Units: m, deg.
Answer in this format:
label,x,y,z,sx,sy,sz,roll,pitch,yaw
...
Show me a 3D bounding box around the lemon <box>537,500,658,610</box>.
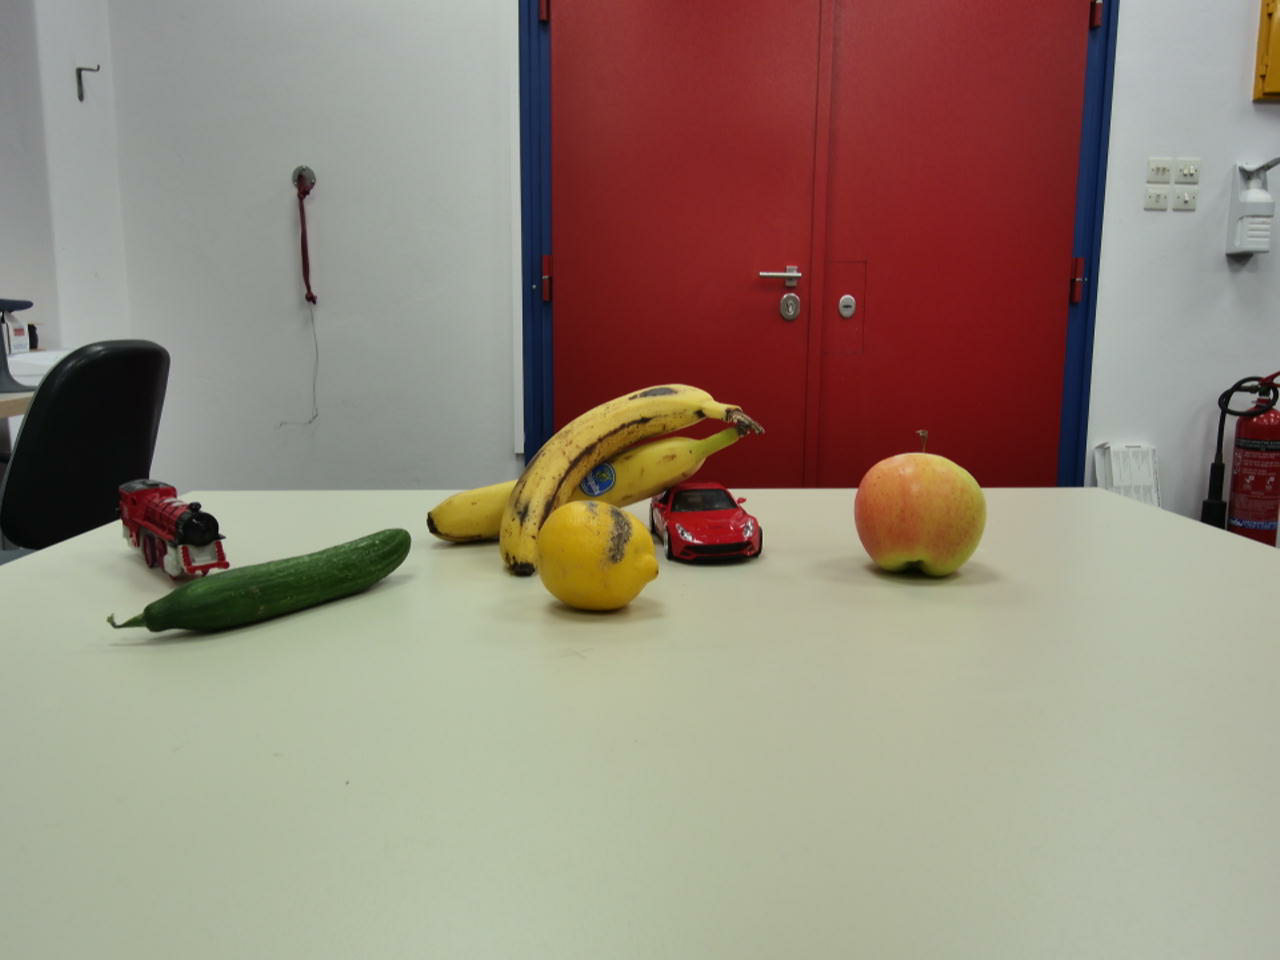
label,x,y,z,sx,sy,sz,roll,pitch,yaw
lemon,-0.023,0.039,0.521,0.061,0.056,0.058,0,7,-8
